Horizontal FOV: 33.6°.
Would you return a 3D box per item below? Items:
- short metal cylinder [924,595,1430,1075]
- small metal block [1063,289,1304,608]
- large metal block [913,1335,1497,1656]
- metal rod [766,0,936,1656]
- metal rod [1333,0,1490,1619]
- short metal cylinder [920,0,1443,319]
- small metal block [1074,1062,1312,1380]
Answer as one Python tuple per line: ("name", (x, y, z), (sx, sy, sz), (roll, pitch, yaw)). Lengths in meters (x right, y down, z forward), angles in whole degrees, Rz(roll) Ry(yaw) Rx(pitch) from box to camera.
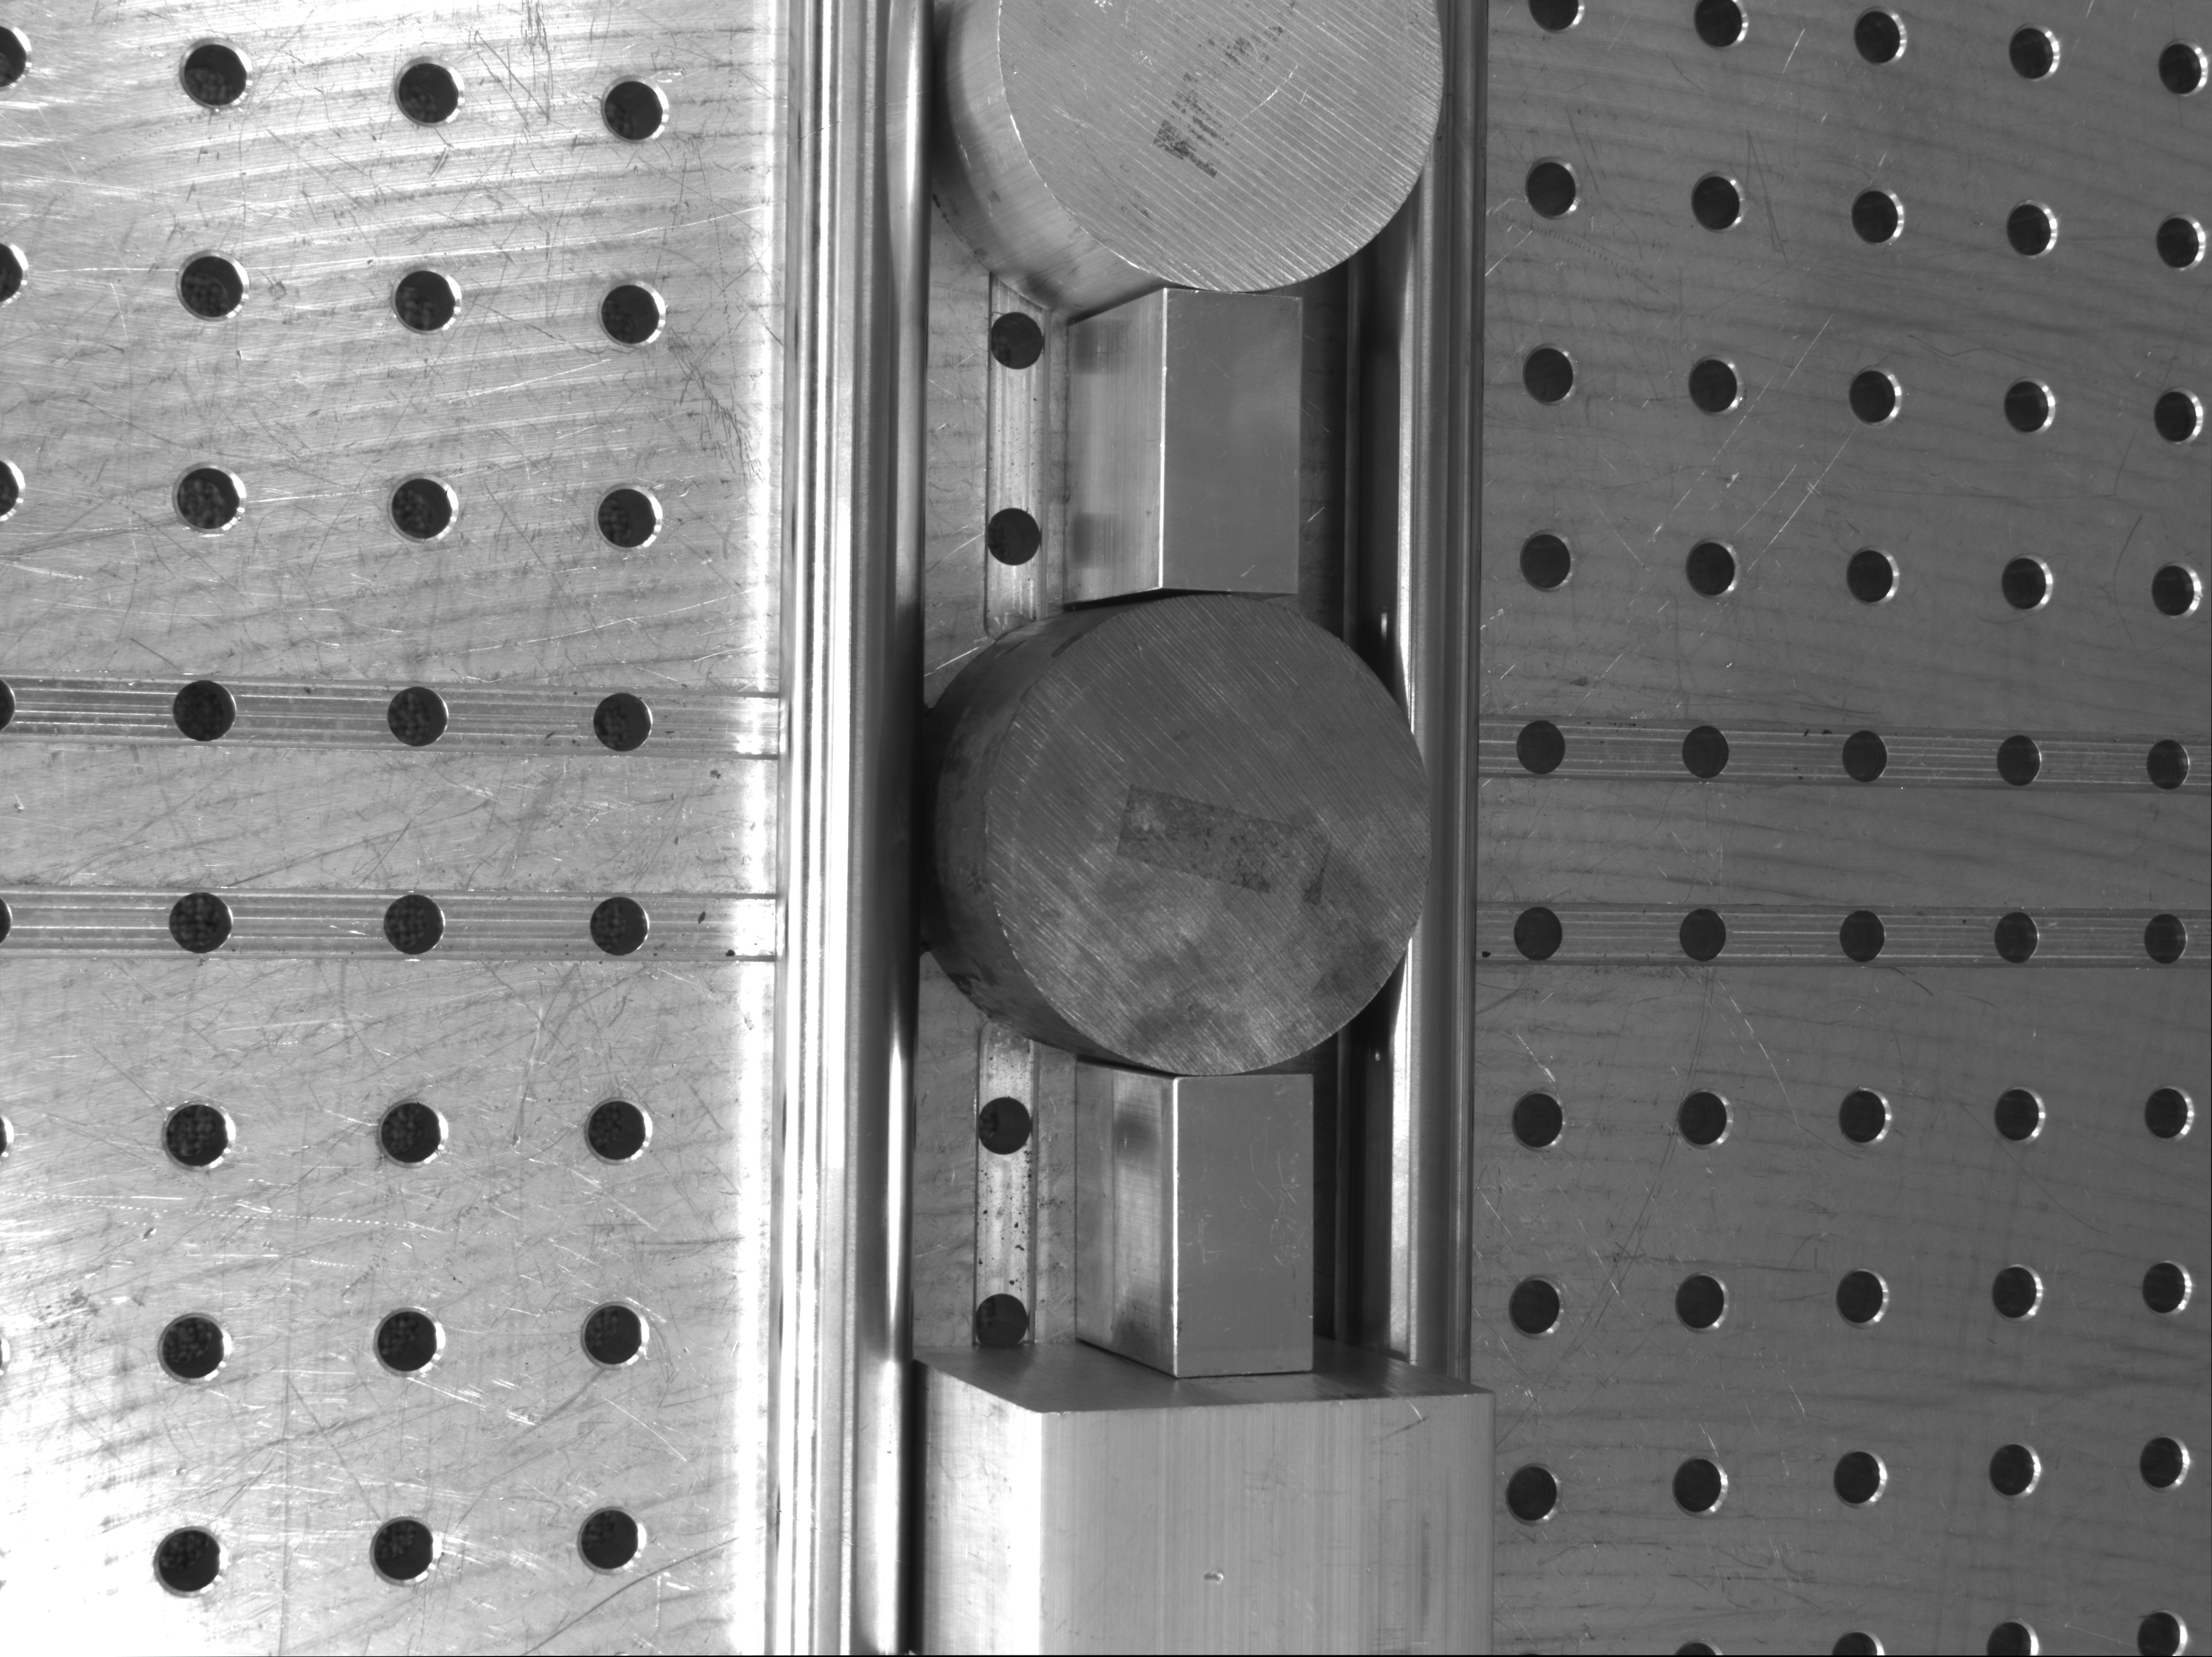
("short metal cylinder", (0.009, 0.001, 0.635), (0.080, 0.050, 0.080), (0, 90, -20))
("small metal block", (0.013, -0.064, 0.635), (0.025, 0.050, 0.050), (1, 90, -20))
("large metal block", (0.012, 0.116, 0.620), (0.080, 0.080, 0.050), (1, 90, -20))
("metal rod", (-0.044, -0.005, 0.628), (0.025, 0.025, 0.300), (1, 90, -20))
("metal rod", (0.055, -0.005, 0.664), (0.025, 0.025, 0.300), (1, 90, -20))
("short metal cylinder", (0.011, -0.129, 0.636), (0.080, 0.050, 0.080), (0, 90, -20))
("small metal block", (0.014, 0.067, 0.636), (0.025, 0.050, 0.050), (0, 90, -20))
